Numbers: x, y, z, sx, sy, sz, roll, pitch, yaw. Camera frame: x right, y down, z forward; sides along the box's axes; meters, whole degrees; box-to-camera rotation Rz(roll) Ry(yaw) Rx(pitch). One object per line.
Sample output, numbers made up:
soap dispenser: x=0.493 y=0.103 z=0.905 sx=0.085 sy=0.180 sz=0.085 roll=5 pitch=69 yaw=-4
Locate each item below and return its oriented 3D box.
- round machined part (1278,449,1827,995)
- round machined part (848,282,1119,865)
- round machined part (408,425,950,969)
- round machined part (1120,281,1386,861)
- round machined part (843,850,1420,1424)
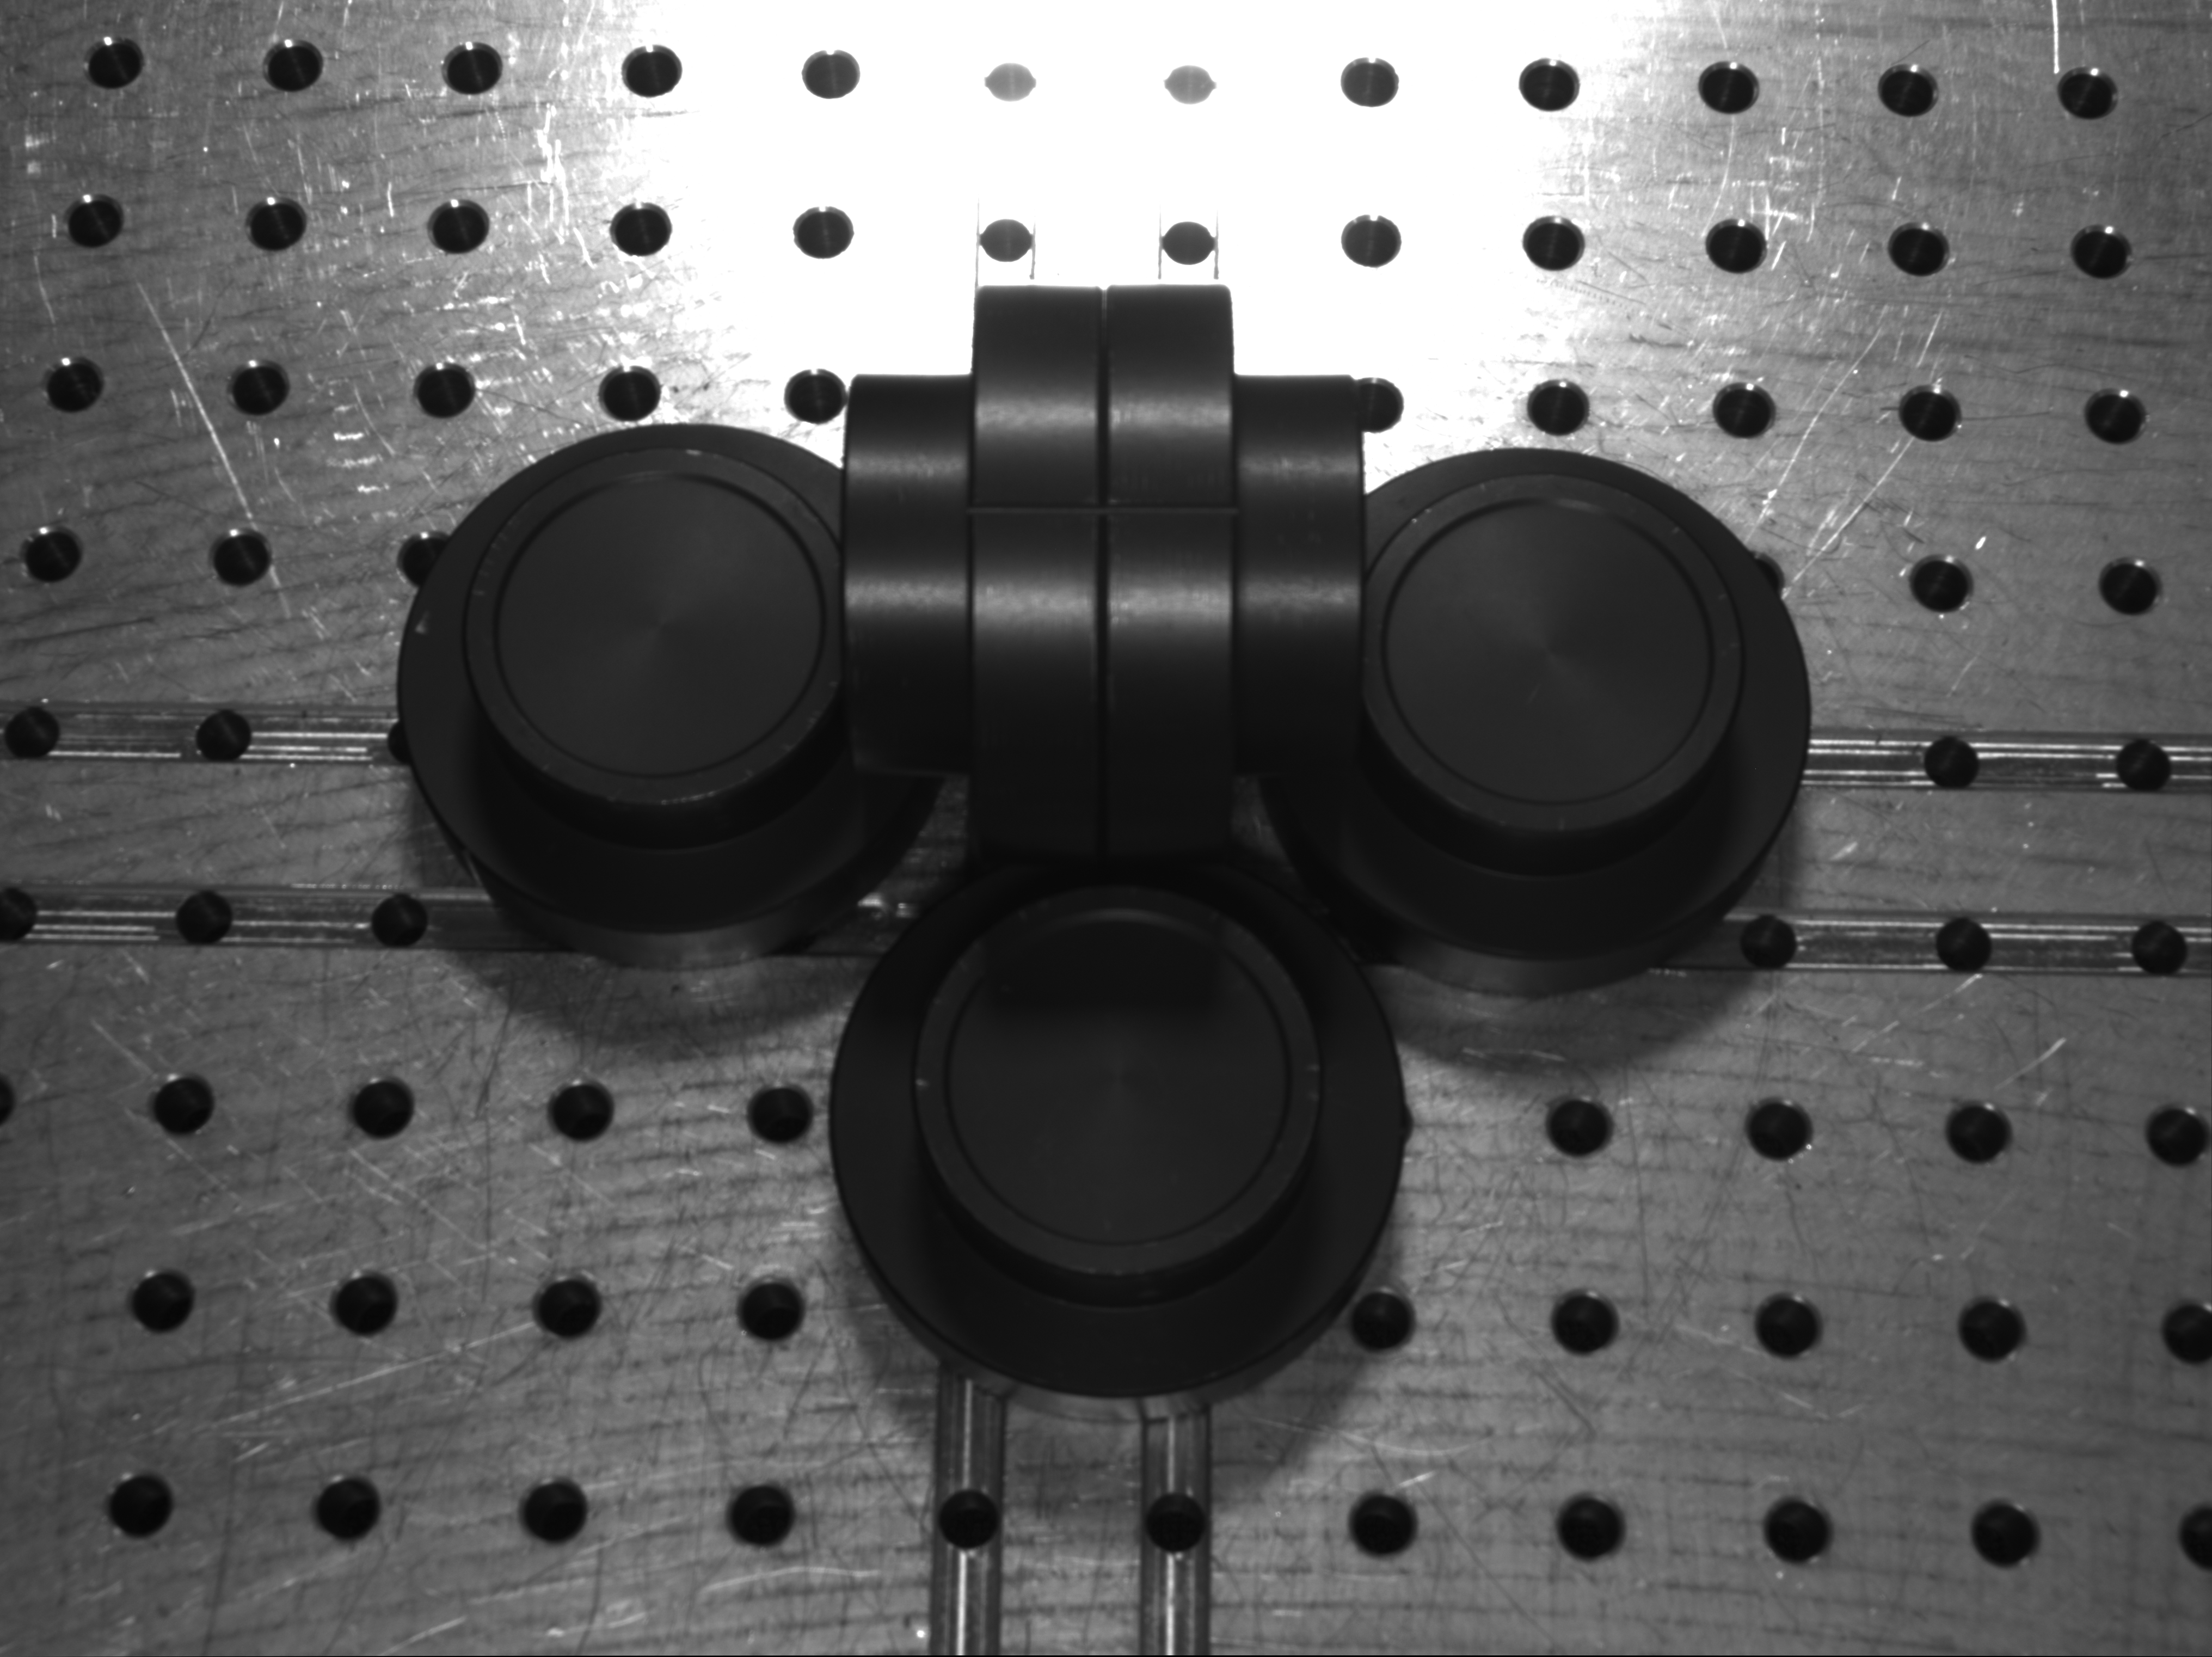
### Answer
round machined part: x=0.078 y=-0.023 z=0.646 sx=0.098 sy=0.042 sz=0.098 roll=0 pitch=70 yaw=0
round machined part: x=-0.020 y=-0.043 z=0.618 sx=0.042 sy=0.098 sz=0.098 roll=1 pitch=70 yaw=1
round machined part: x=-0.075 y=-0.028 z=0.648 sx=0.098 sy=0.042 sz=0.098 roll=0 pitch=70 yaw=0
round machined part: x=0.024 y=-0.043 z=0.618 sx=0.042 sy=0.098 sz=0.098 roll=-1 pitch=70 yaw=0
round machined part: x=0.004 y=0.048 z=0.620 sx=0.098 sy=0.042 sz=0.098 roll=0 pitch=70 yaw=0
